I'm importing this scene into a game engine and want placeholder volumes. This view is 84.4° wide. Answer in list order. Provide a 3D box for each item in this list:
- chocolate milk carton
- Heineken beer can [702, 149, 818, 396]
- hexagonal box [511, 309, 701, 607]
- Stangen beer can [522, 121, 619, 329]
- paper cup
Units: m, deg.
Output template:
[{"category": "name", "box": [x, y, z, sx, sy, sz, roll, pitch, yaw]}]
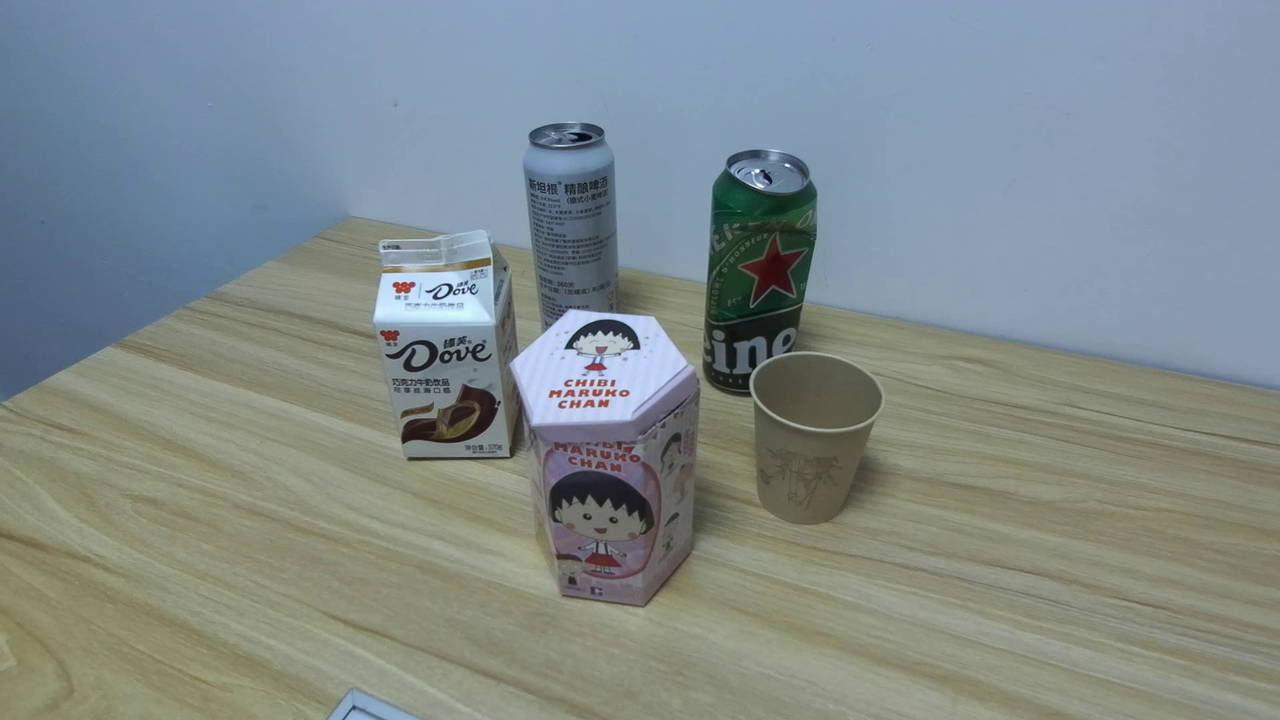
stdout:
[{"category": "chocolate milk carton", "box": [-0.121, -0.015, 0.459, 0.075, 0.148, 0.074, 0, 35, -2]}, {"category": "Heineken beer can", "box": [0.080, -0.055, 0.492, 0.068, 0.168, 0.069, 13, 40, 15]}, {"category": "hexagonal box", "box": [-0.015, 0.053, 0.371, 0.092, 0.135, 0.085, 5, 35, 9]}, {"category": "Stangen beer can", "box": [-0.050, -0.091, 0.547, 0.067, 0.171, 0.067, -1, 34, 1]}, {"category": "paper cup", "box": [0.098, 0.049, 0.415, 0.075, 0.082, 0.075, -1, 36, 1]}]
